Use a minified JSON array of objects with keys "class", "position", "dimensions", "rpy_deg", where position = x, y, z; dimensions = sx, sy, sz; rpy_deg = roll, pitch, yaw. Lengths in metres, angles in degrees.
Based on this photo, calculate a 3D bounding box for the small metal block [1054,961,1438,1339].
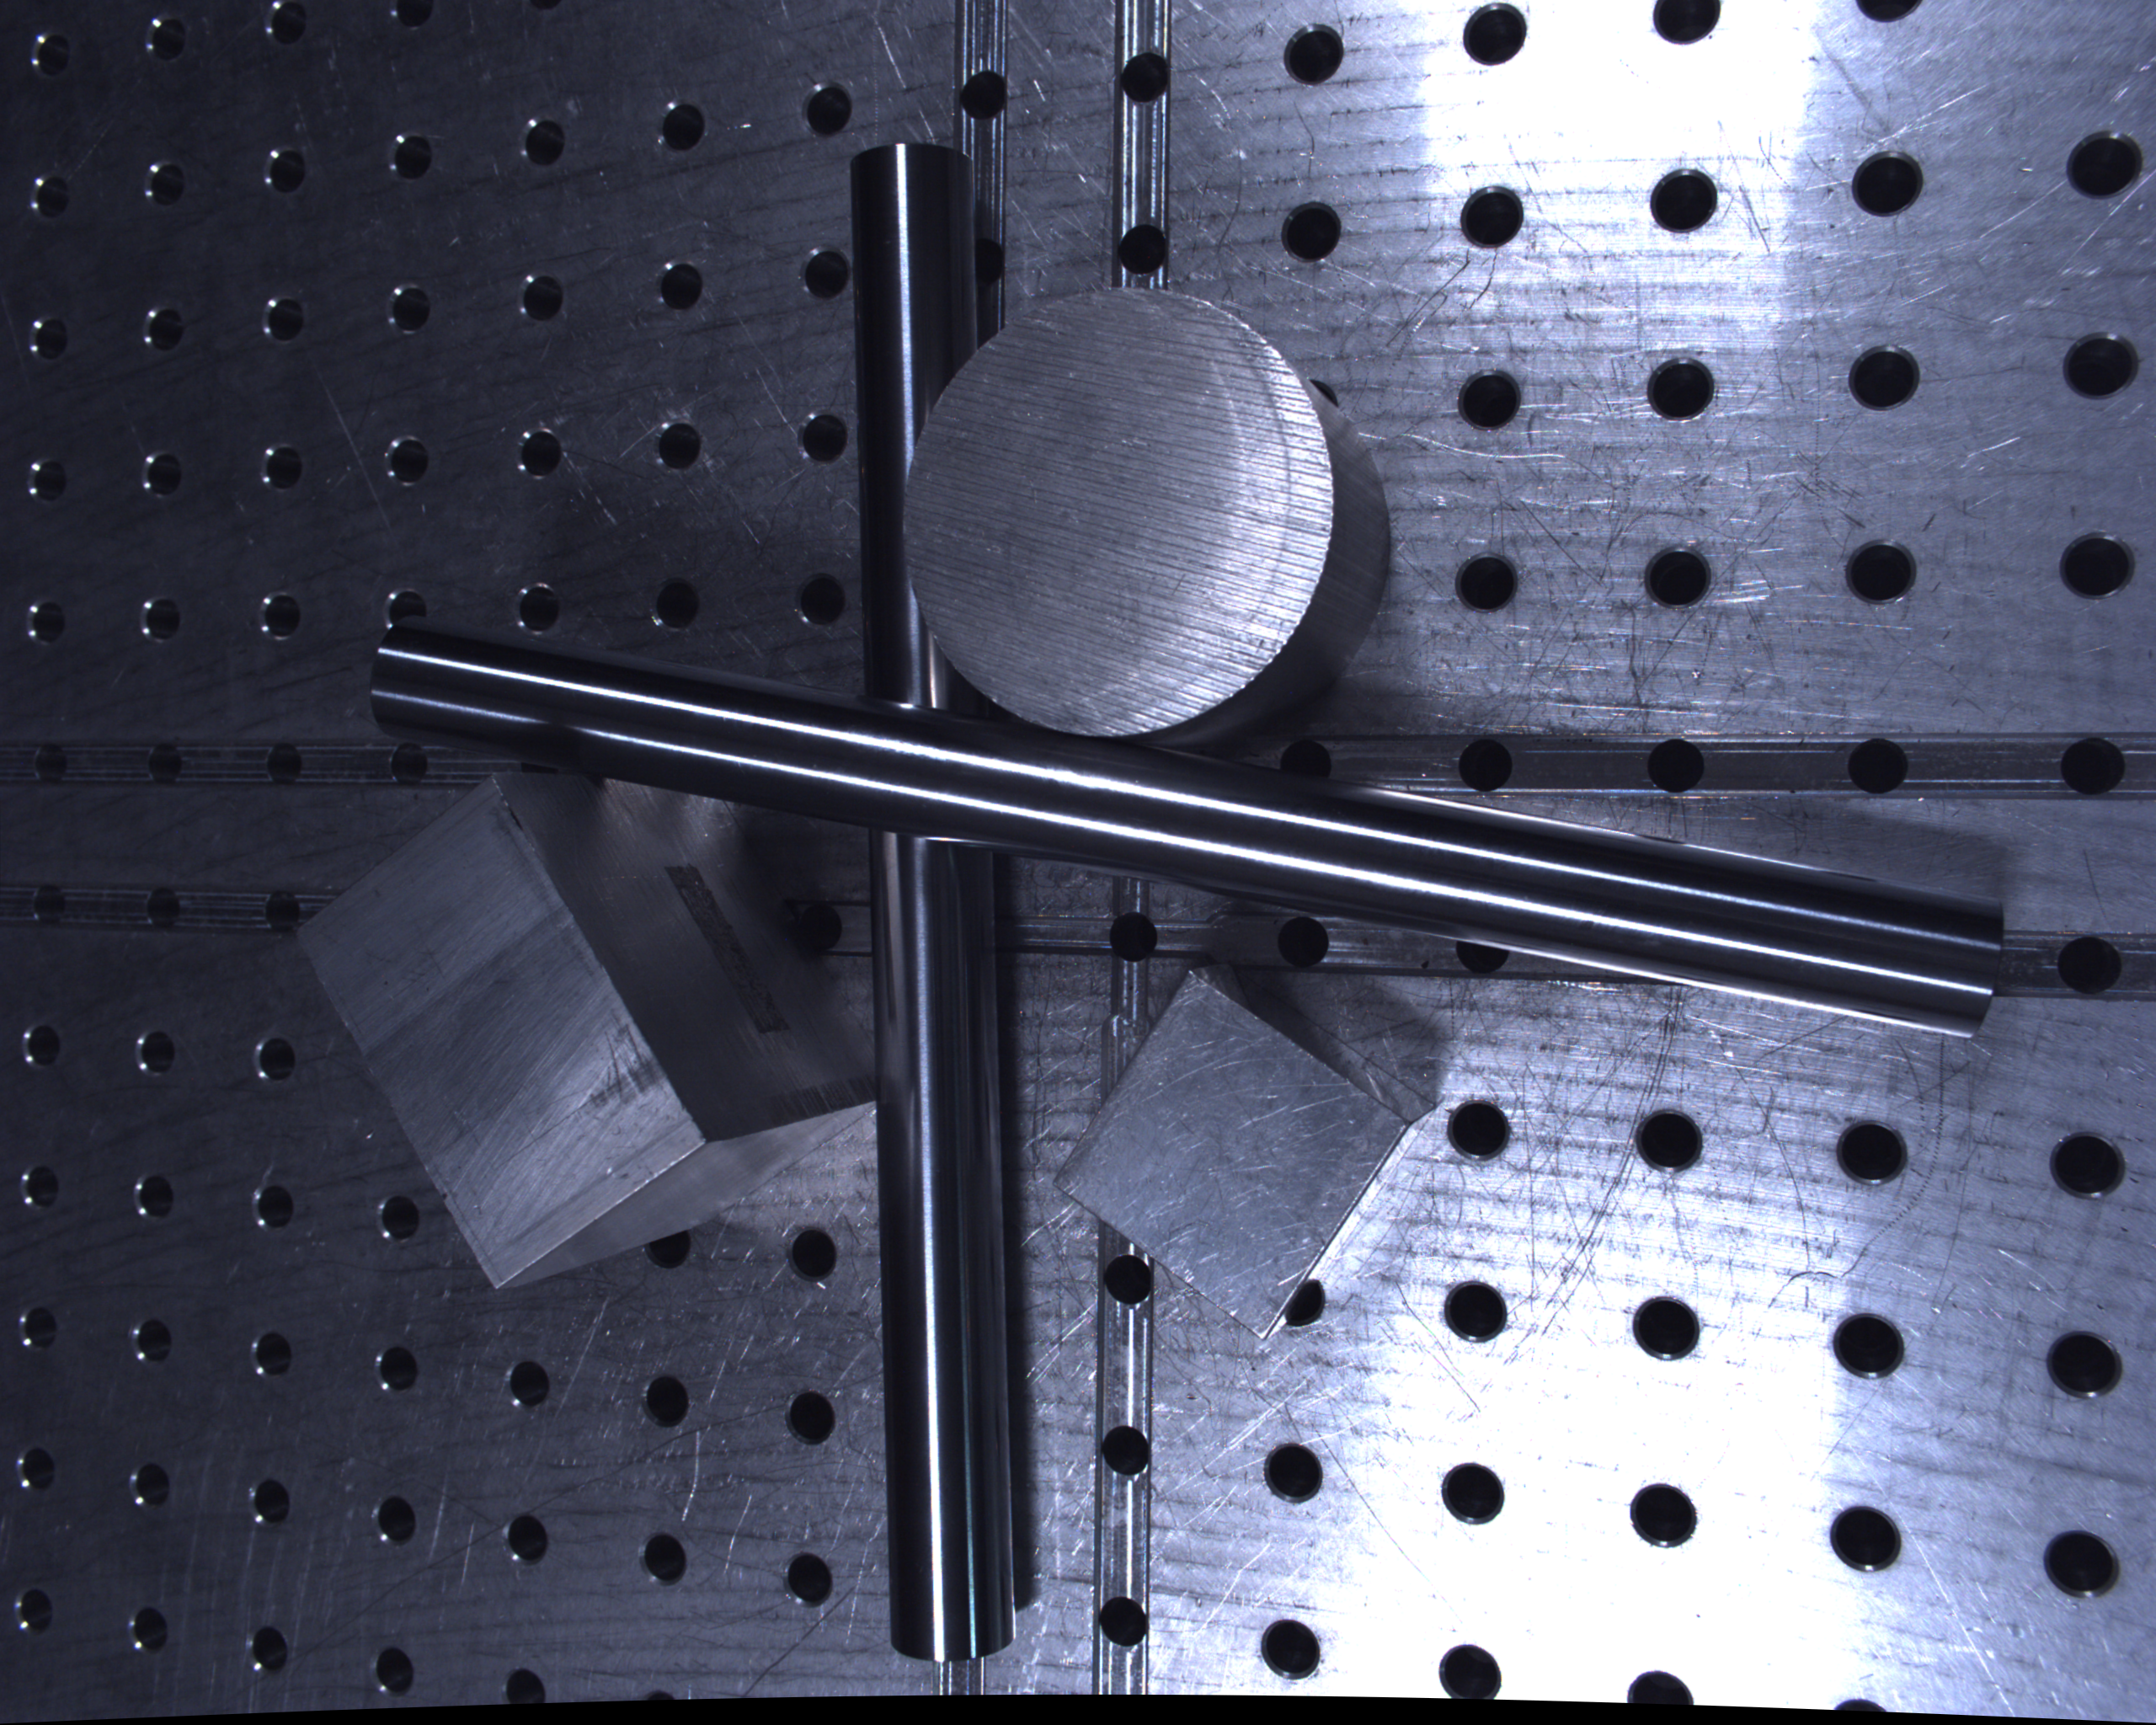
[{"class":"small metal block","position":[0.032,0.054,0.401],"dimensions":[0.050,0.025,0.050],"rpy_deg":[35,101,16]}]

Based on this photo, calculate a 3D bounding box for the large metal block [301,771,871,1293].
[{"class":"large metal block","position":[-0.090,0.030,0.413],"dimensions":[0.050,0.080,0.080],"rpy_deg":[-36,79,16]}]

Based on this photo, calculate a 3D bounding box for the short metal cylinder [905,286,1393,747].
[{"class":"short metal cylinder","position":[0.015,-0.062,0.393],"dimensions":[0.080,0.050,0.079],"rpy_deg":[0,90,19]}]

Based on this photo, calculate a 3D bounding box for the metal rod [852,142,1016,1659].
[{"class":"metal rod","position":[-0.029,0.007,0.422],"dimensions":[0.025,0.025,0.298],"rpy_deg":[-2,89,19]}]

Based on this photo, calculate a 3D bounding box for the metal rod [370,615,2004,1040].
[{"class":"metal rod","position":[0.010,-0.009,0.388],"dimensions":[0.301,0.025,0.025],"rpy_deg":[11,94,11]}]
